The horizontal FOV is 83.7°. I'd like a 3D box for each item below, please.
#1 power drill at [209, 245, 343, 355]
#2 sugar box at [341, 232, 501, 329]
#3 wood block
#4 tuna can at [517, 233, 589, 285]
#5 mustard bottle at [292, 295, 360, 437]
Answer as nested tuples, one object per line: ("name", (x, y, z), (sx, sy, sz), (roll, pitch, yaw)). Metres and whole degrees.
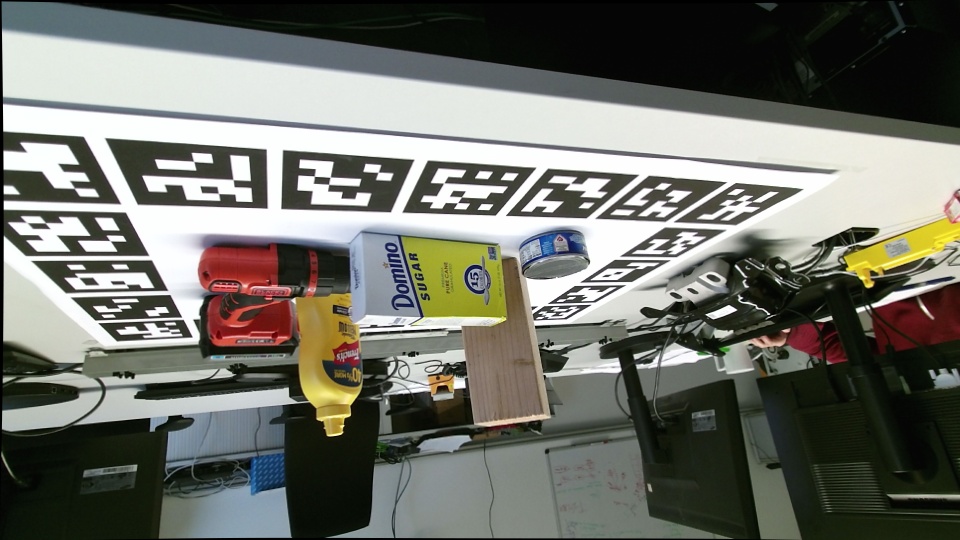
("power drill", (-0.228, 0.039, 0.635), (0.185, 0.057, 0.187), (5, 146, -34))
("sugar box", (-0.064, 0.015, 0.607), (0.177, 0.092, 0.045), (6, 156, -31))
("wood block", (0.028, 0.099, 0.719), (0.091, 0.205, 0.090), (-13, 157, 5))
("tuna can", (0.090, -0.013, 0.669), (0.086, 0.033, 0.086), (-8, 157, -4))
("mustard bottle", (-0.191, 0.112, 0.673), (0.058, 0.190, 0.096), (-18, 156, 16))
